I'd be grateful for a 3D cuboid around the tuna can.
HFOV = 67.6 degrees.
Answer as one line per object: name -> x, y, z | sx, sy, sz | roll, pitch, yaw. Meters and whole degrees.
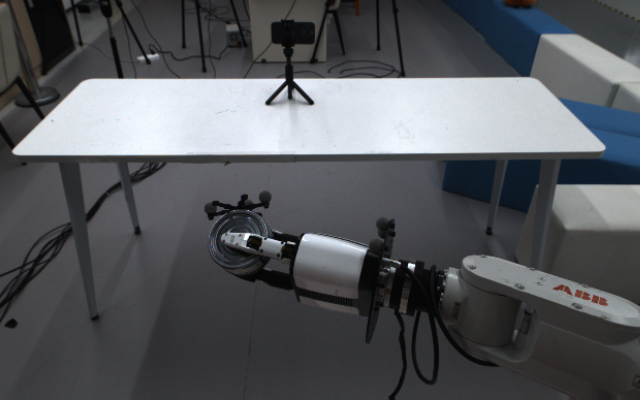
tuna can -> -0.102, 0.062, 0.649 | 0.085, 0.034, 0.085 | -4, 68, 9
